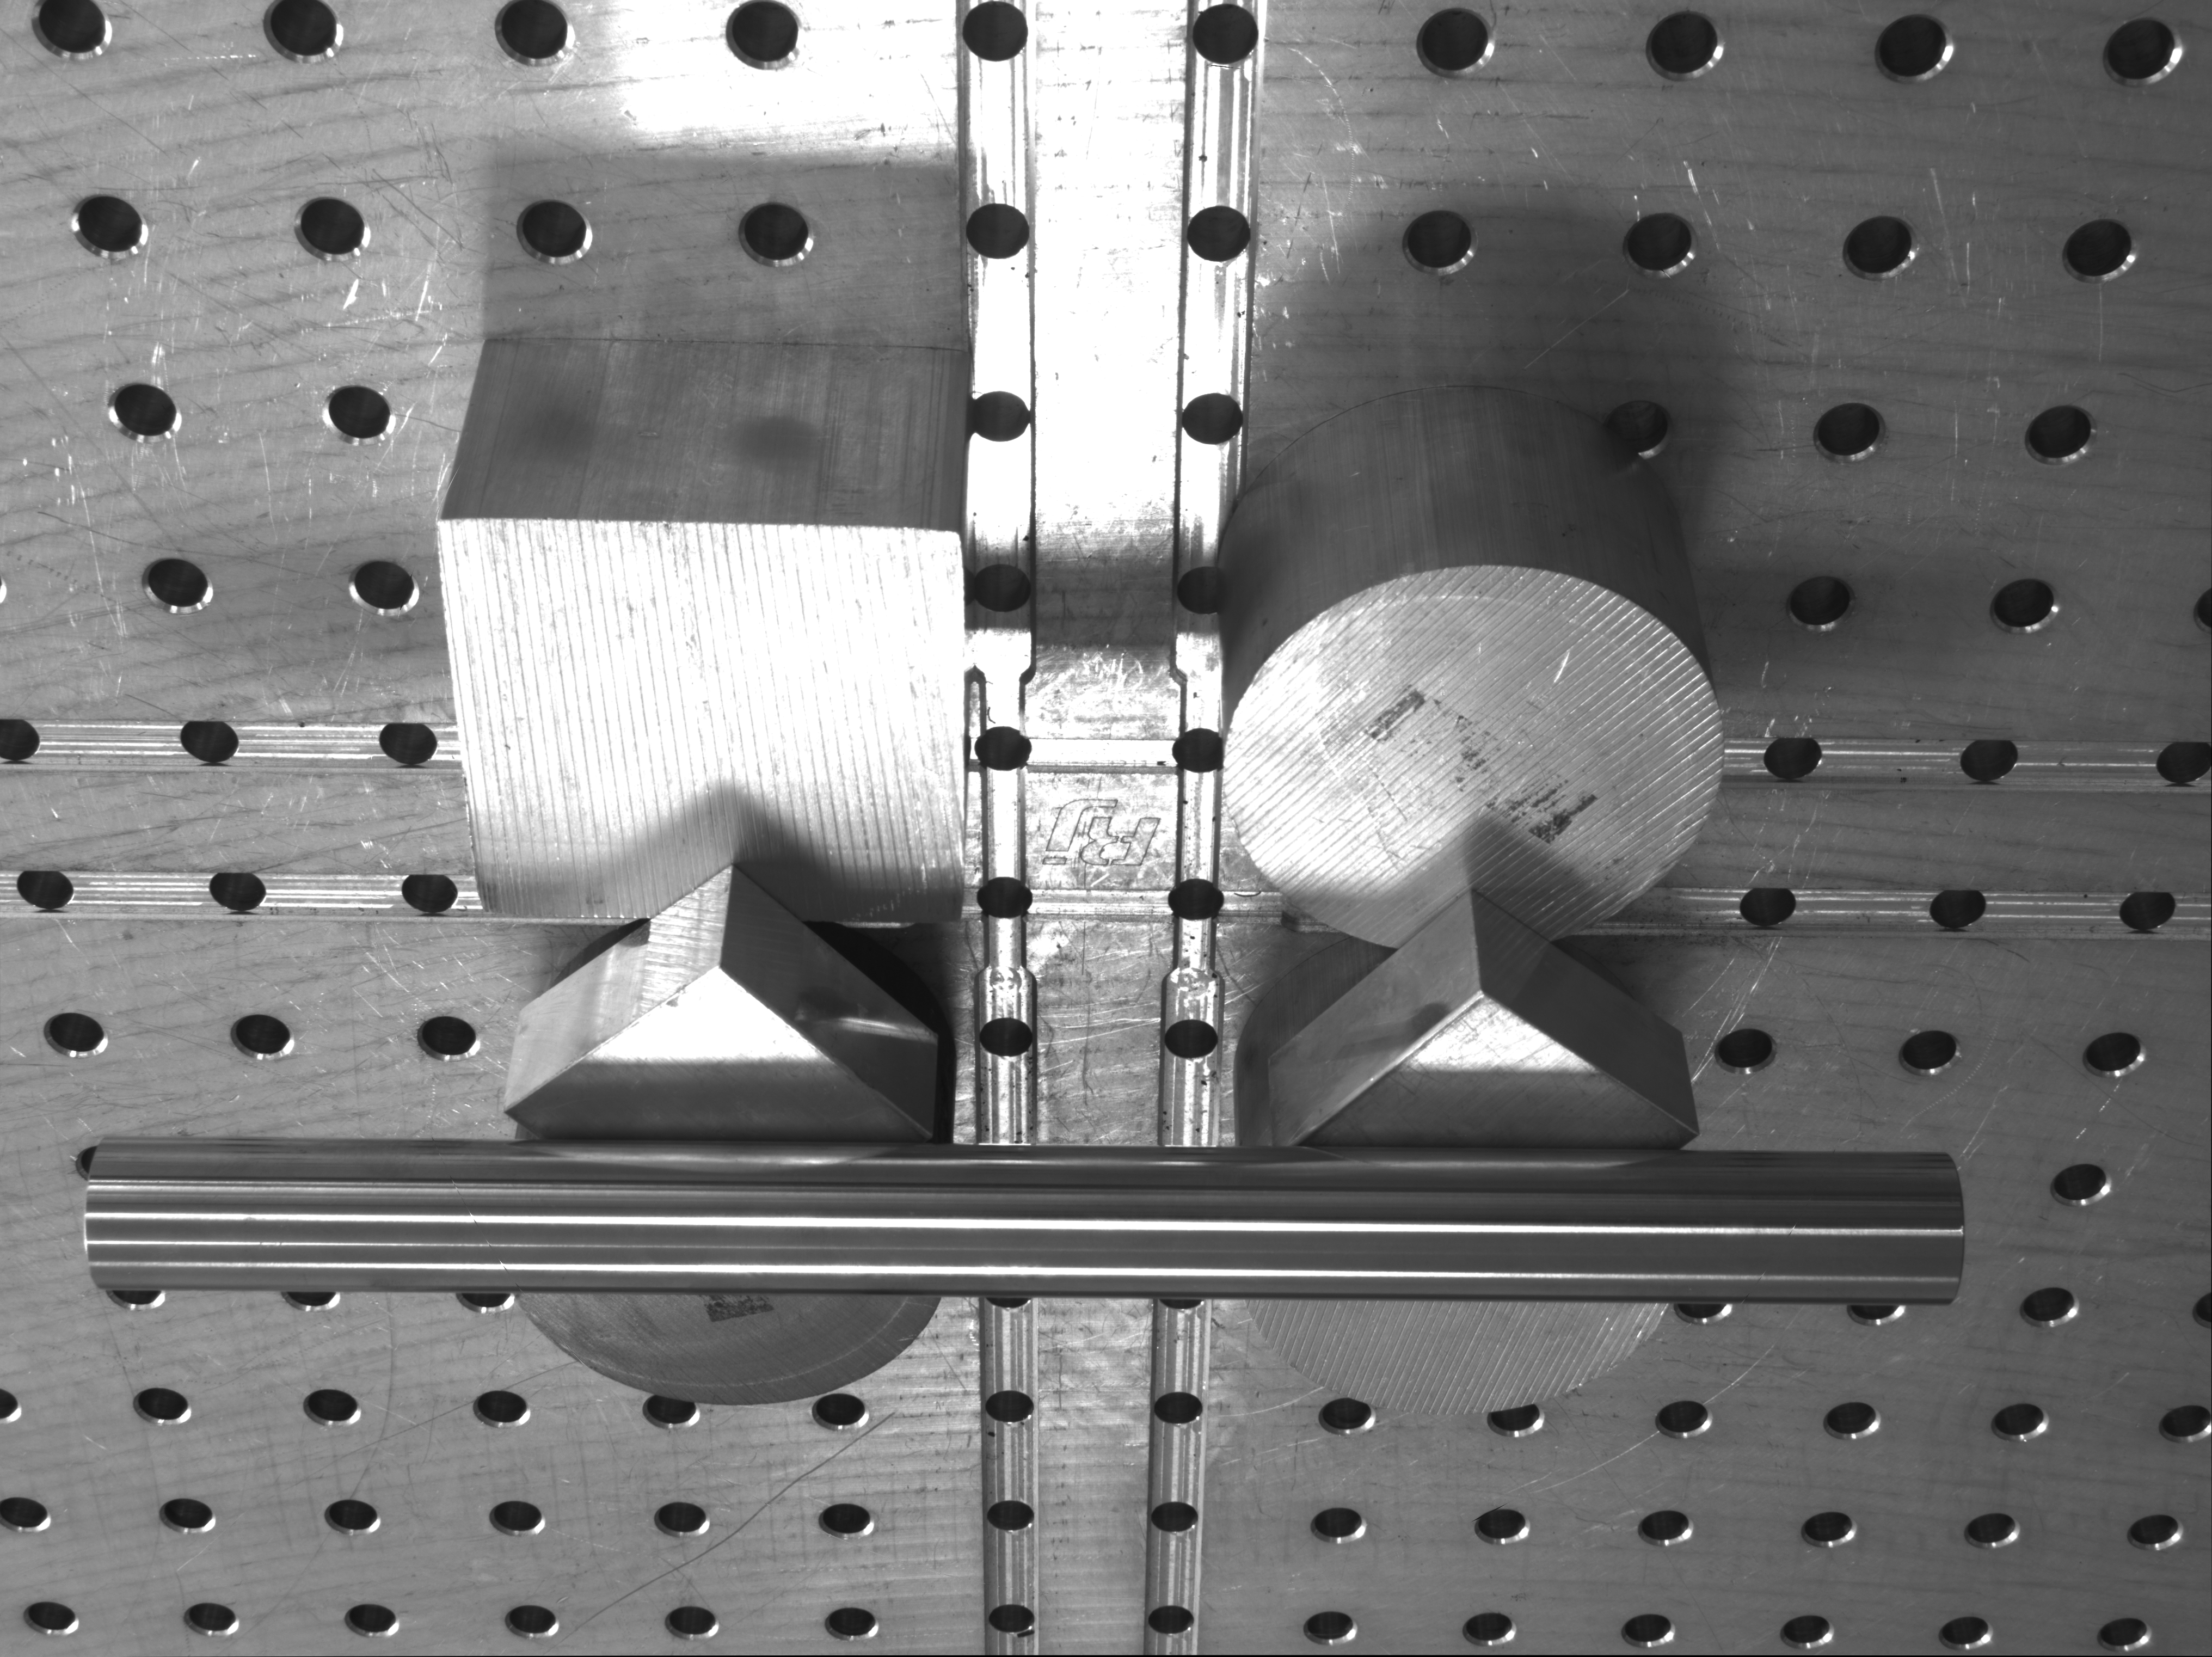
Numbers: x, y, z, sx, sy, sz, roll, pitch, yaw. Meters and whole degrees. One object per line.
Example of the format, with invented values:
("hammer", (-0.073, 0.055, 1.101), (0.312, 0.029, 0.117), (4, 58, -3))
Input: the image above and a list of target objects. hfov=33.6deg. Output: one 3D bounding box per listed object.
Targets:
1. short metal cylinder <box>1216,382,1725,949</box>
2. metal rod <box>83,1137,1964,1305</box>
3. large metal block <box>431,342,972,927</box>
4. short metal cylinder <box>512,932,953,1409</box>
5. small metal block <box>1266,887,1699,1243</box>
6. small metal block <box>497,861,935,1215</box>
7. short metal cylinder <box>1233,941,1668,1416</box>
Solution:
("short metal cylinder", (0.059, -0.026, 0.604), (0.080, 0.050, 0.080), (0, 130, 0))
("metal rod", (-0.013, 0.064, 0.597), (0.300, 0.025, 0.025), (1, 130, -1))
("large metal block", (-0.062, -0.031, 0.599), (0.080, 0.050, 0.080), (1, 130, -1))
("short metal cylinder", (-0.069, 0.061, 0.676), (0.080, 0.050, 0.080), (0, 130, 0))
("small metal block", (0.062, 0.045, 0.615), (0.050, 0.025, 0.050), (33, 123, -25))
("small metal block", (-0.064, 0.040, 0.611), (0.050, 0.025, 0.050), (-33, 123, 24))
("short metal cylinder", (0.064, 0.063, 0.679), (0.080, 0.050, 0.080), (0, 130, 0))
